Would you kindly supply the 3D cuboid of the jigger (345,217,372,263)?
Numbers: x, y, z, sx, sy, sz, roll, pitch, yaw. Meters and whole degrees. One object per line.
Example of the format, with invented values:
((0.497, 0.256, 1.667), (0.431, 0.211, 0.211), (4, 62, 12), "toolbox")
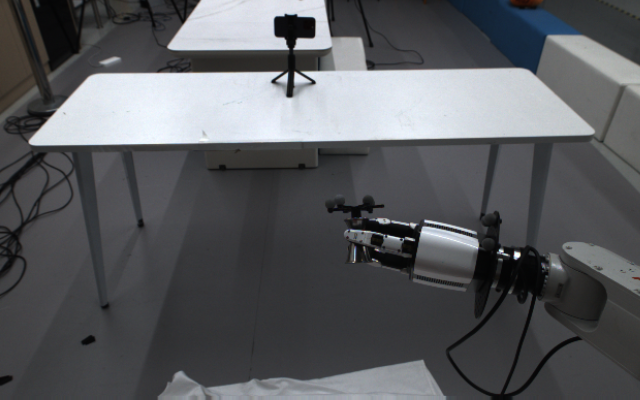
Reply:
((0.058, 0.061, 0.746), (0.043, 0.071, 0.043), (-2, -7, 0), "jigger")
